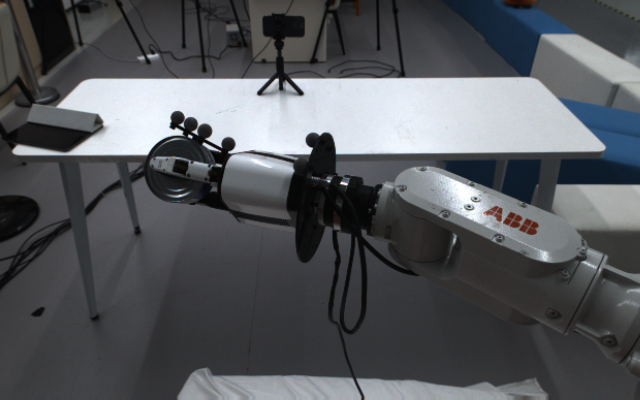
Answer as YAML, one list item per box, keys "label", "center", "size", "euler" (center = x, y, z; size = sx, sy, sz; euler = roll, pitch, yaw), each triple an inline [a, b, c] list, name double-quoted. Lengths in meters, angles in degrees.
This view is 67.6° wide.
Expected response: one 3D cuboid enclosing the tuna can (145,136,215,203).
- label: "tuna can"
  center: [-0.178, -0.037, 0.624]
  size: [0.085, 0.085, 0.034]
  euler: [9, -5, 10]
